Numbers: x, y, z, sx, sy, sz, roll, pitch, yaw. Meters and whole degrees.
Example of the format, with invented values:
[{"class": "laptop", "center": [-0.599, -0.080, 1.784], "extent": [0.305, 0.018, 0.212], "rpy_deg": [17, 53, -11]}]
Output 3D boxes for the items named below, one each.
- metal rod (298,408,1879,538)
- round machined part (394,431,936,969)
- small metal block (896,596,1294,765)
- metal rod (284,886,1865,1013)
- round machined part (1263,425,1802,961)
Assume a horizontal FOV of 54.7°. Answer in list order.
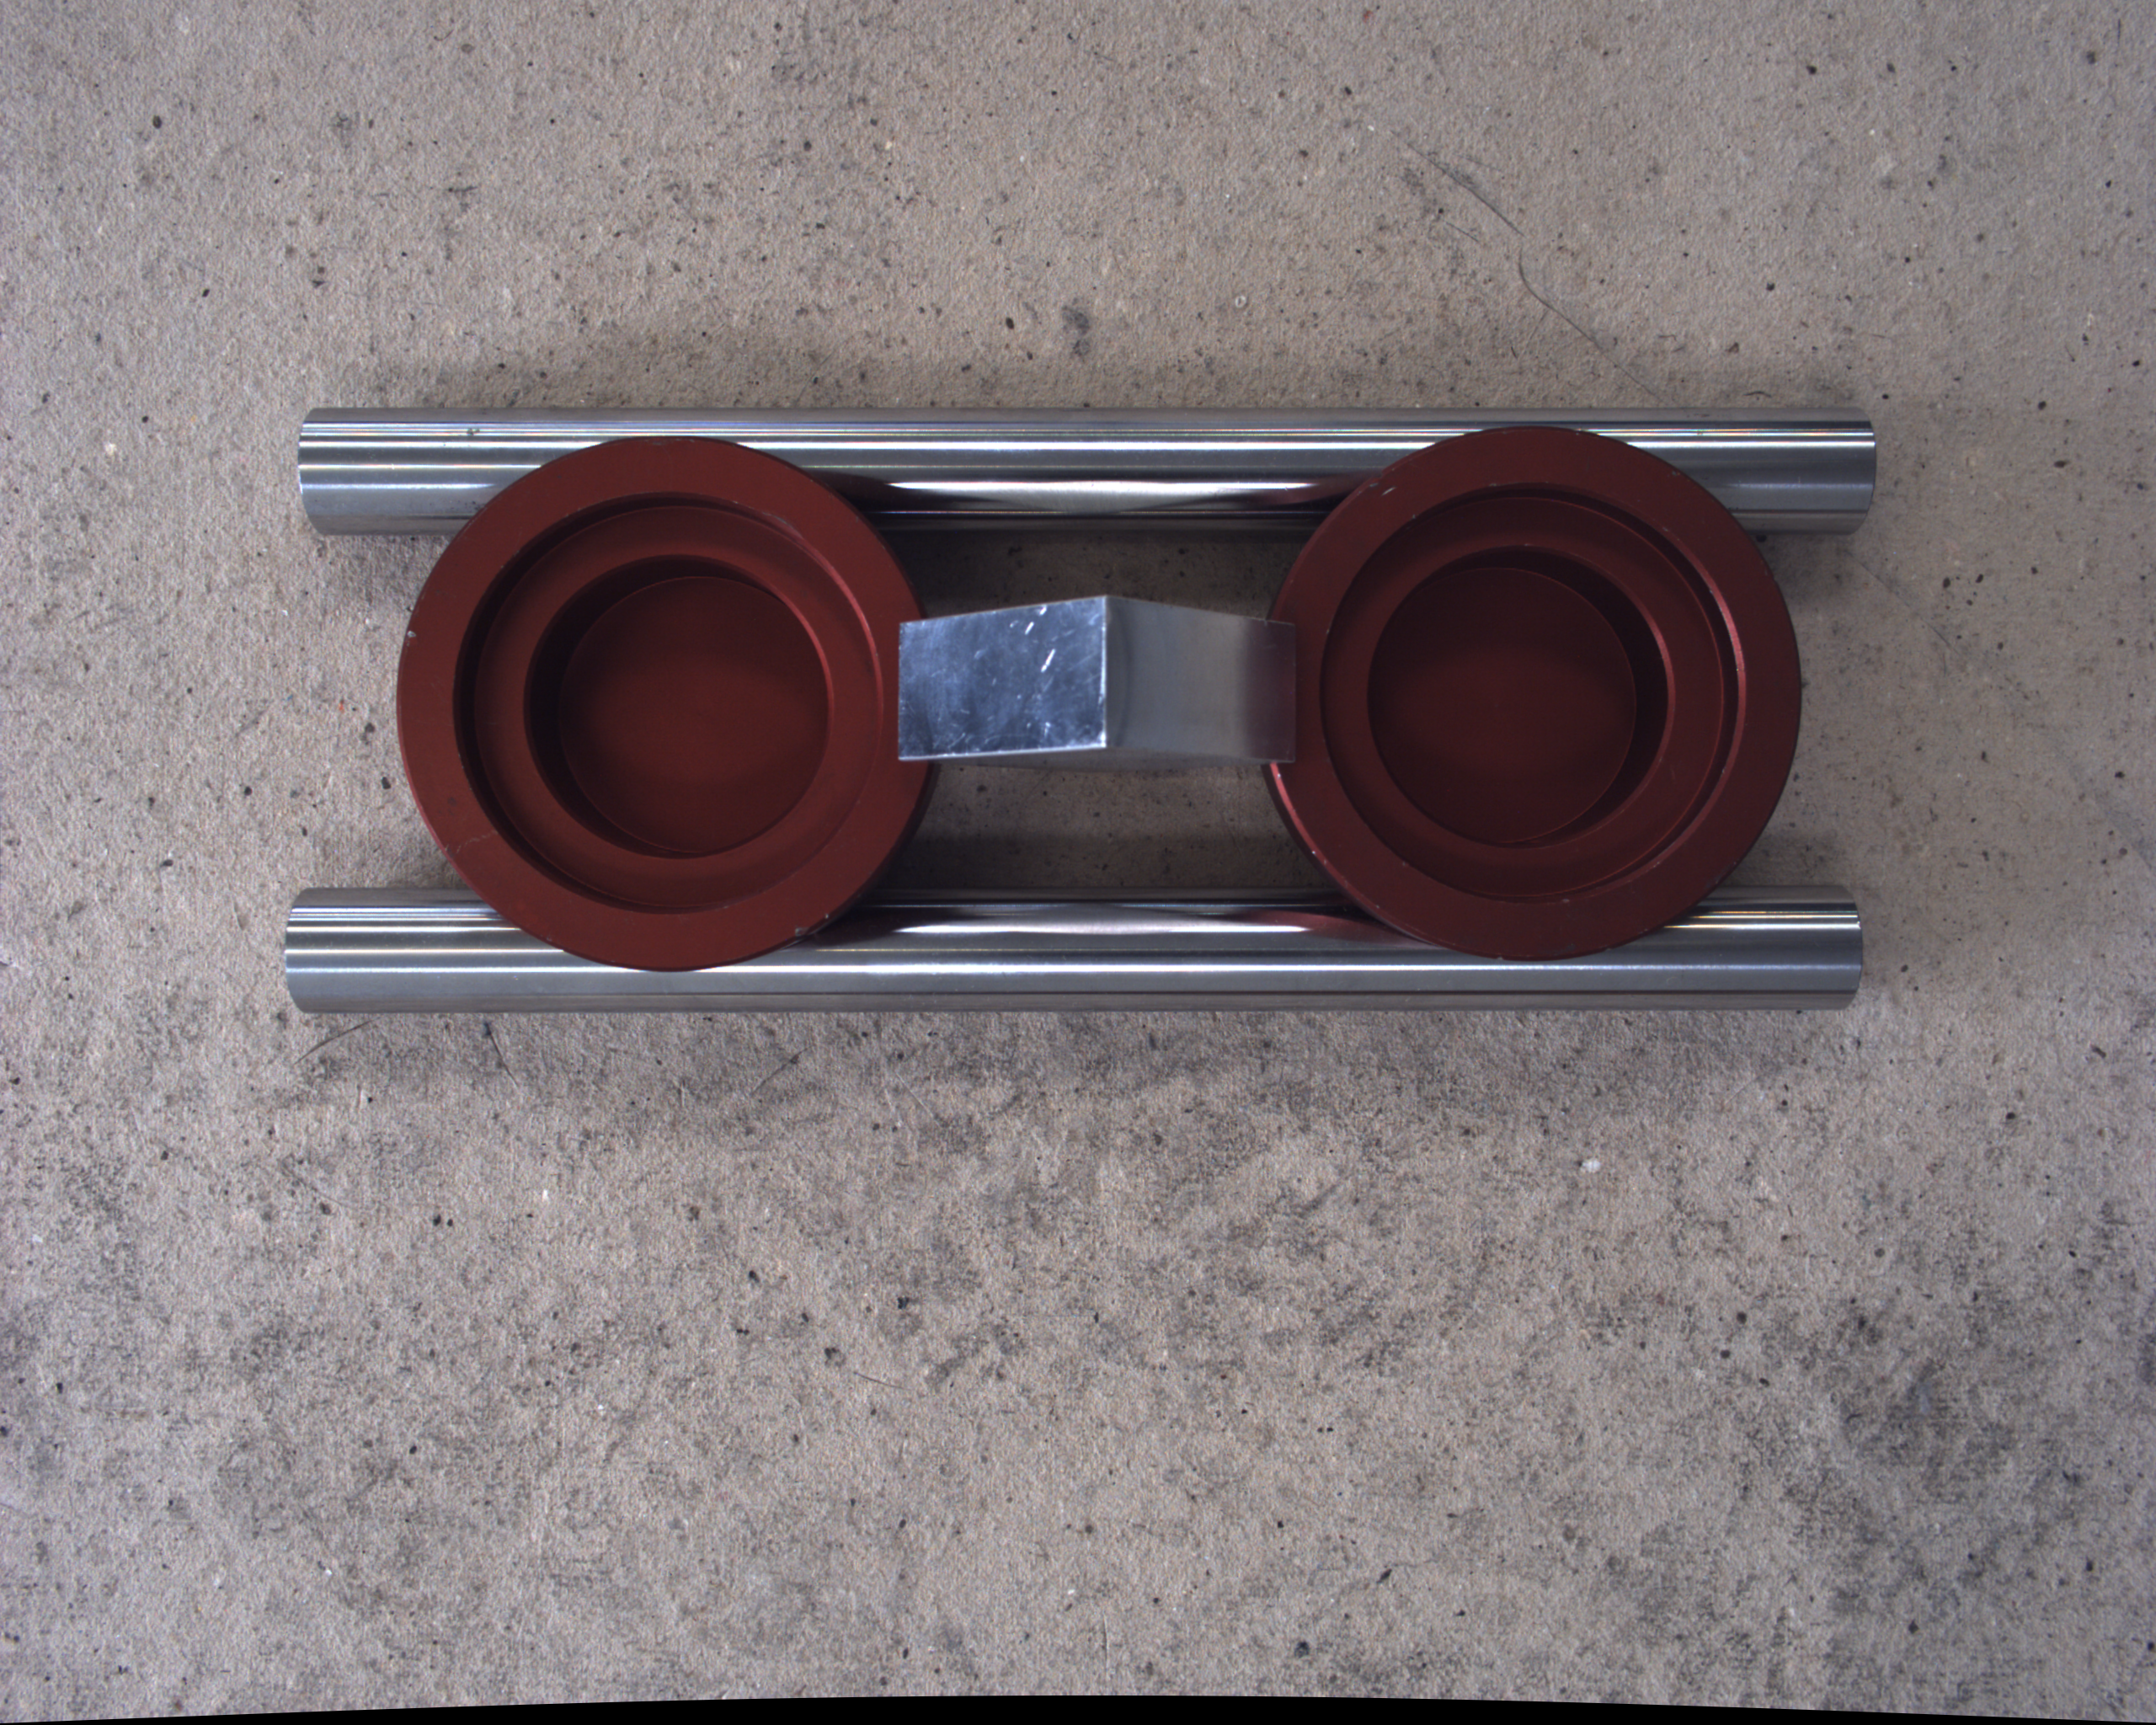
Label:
[{"class": "metal rod", "center": [0.002, -0.077, 0.411], "extent": [0.302, 0.025, 0.025], "rpy_deg": [0, 90, 0]}, {"class": "round machined part", "center": [-0.075, -0.030, 0.398], "extent": [0.099, 0.042, 0.097], "rpy_deg": [0, 90, 0]}, {"class": "small metal block", "center": [0.003, -0.030, 0.372], "extent": [0.050, 0.050, 0.025], "rpy_deg": [0, 89, 43]}, {"class": "metal rod", "center": [0.000, 0.017, 0.411], "extent": [0.302, 0.025, 0.025], "rpy_deg": [0, 90, 0]}, {"class": "round machined part", "center": [0.082, -0.031, 0.398], "extent": [0.099, 0.042, 0.097], "rpy_deg": [0, 90, 0]}]
